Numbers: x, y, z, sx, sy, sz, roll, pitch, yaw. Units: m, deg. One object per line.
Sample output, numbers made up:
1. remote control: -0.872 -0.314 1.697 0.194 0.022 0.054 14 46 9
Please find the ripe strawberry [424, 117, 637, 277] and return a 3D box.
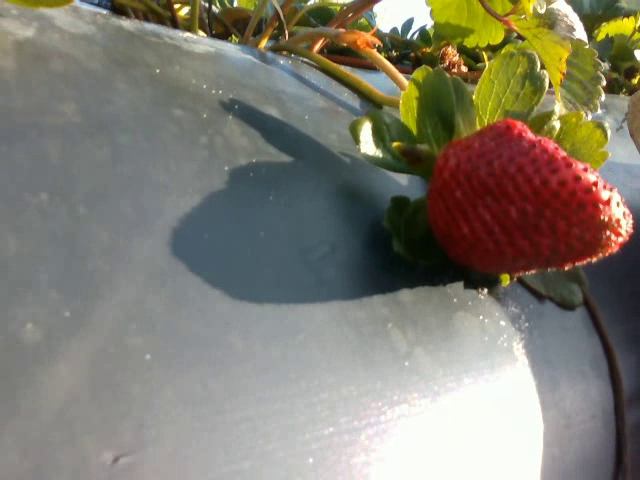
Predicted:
1. ripe strawberry: 0.016 -0.004 0.047 0.016 0.015 0.022 15 3 -20
